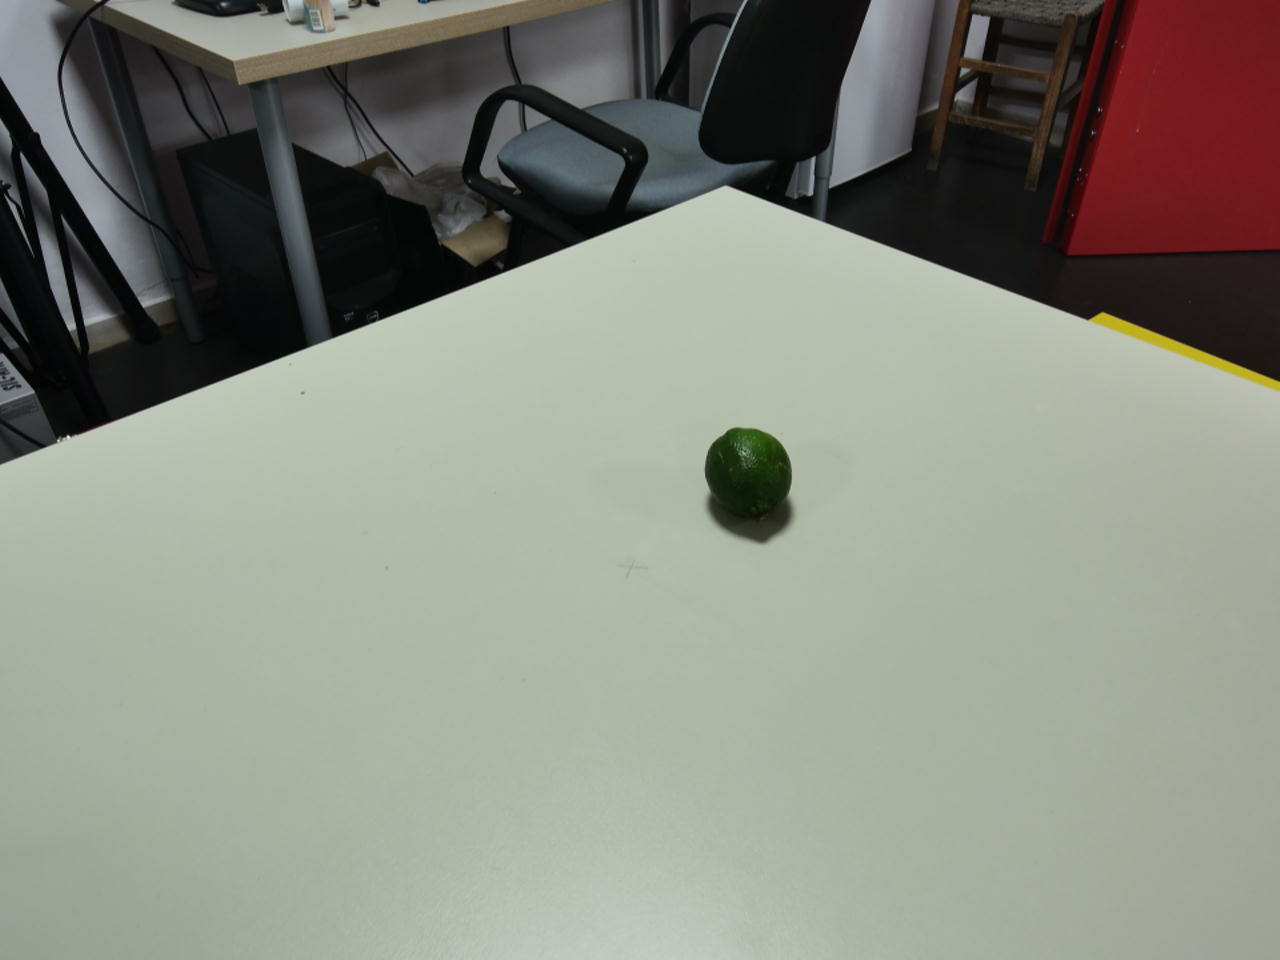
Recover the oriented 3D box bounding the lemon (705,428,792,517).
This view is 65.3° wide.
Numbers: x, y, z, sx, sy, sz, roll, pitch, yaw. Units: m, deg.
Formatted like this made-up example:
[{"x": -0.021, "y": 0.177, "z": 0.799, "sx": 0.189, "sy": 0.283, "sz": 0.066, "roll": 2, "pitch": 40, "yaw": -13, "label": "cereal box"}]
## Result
[{"x": 0.067, "y": -0.006, "z": 0.618, "sx": 0.054, "sy": 0.051, "sz": 0.057, "roll": -30, "pitch": 47, "yaw": -34, "label": "lemon"}]
